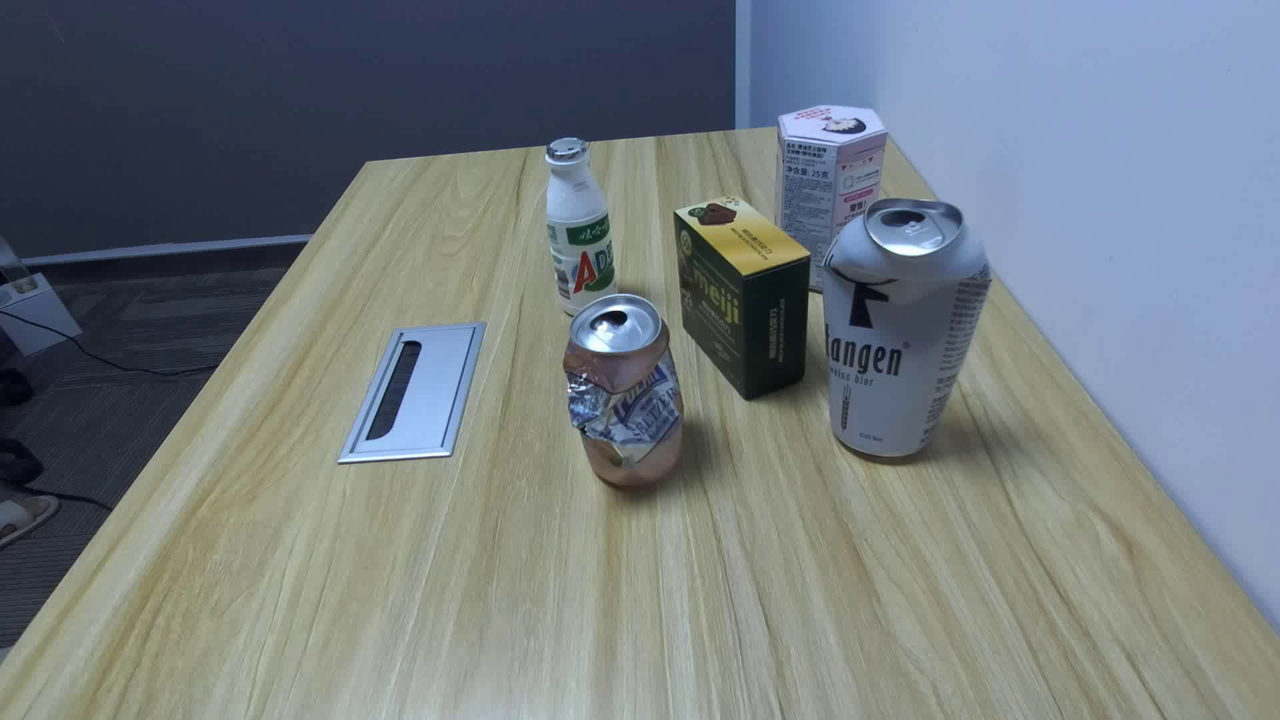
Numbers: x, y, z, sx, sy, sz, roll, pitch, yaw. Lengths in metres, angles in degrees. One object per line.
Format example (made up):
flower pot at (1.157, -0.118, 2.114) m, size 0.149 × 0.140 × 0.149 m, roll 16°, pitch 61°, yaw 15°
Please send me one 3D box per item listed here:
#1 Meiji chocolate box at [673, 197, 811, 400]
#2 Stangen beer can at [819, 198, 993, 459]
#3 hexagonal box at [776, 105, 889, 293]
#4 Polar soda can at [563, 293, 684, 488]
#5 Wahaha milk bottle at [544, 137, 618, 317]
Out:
Meiji chocolate box at (0.074, -0.048, 0.522) m, size 0.056 × 0.109 × 0.109 m, roll -19°, pitch 40°, yaw -14°
Stangen beer can at (0.153, -0.015, 0.426) m, size 0.077 × 0.162 × 0.065 m, roll -15°, pitch 39°, yaw -10°
hexagonal box at (0.155, -0.134, 0.595) m, size 0.091 × 0.136 × 0.083 m, roll -21°, pitch 40°, yaw -20°
Polar soda can at (-0.008, 0.022, 0.441) m, size 0.070 × 0.114 × 0.074 m, roll -12°, pitch 36°, yaw 1°
Wahaha milk bottle at (-0.051, -0.101, 0.581) m, size 0.053 × 0.137 × 0.053 m, roll -3°, pitch 38°, yaw 3°
